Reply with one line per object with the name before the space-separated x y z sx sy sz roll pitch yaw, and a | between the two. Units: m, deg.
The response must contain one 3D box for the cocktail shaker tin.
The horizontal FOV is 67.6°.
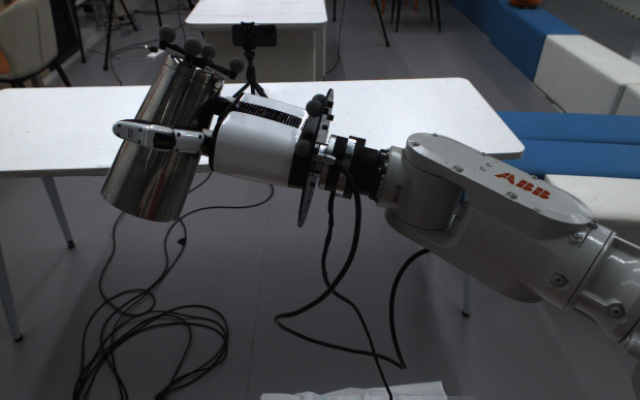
cocktail shaker tin | -0.169 -0.072 0.543 0.093 0.170 0.093 24 12 -5
